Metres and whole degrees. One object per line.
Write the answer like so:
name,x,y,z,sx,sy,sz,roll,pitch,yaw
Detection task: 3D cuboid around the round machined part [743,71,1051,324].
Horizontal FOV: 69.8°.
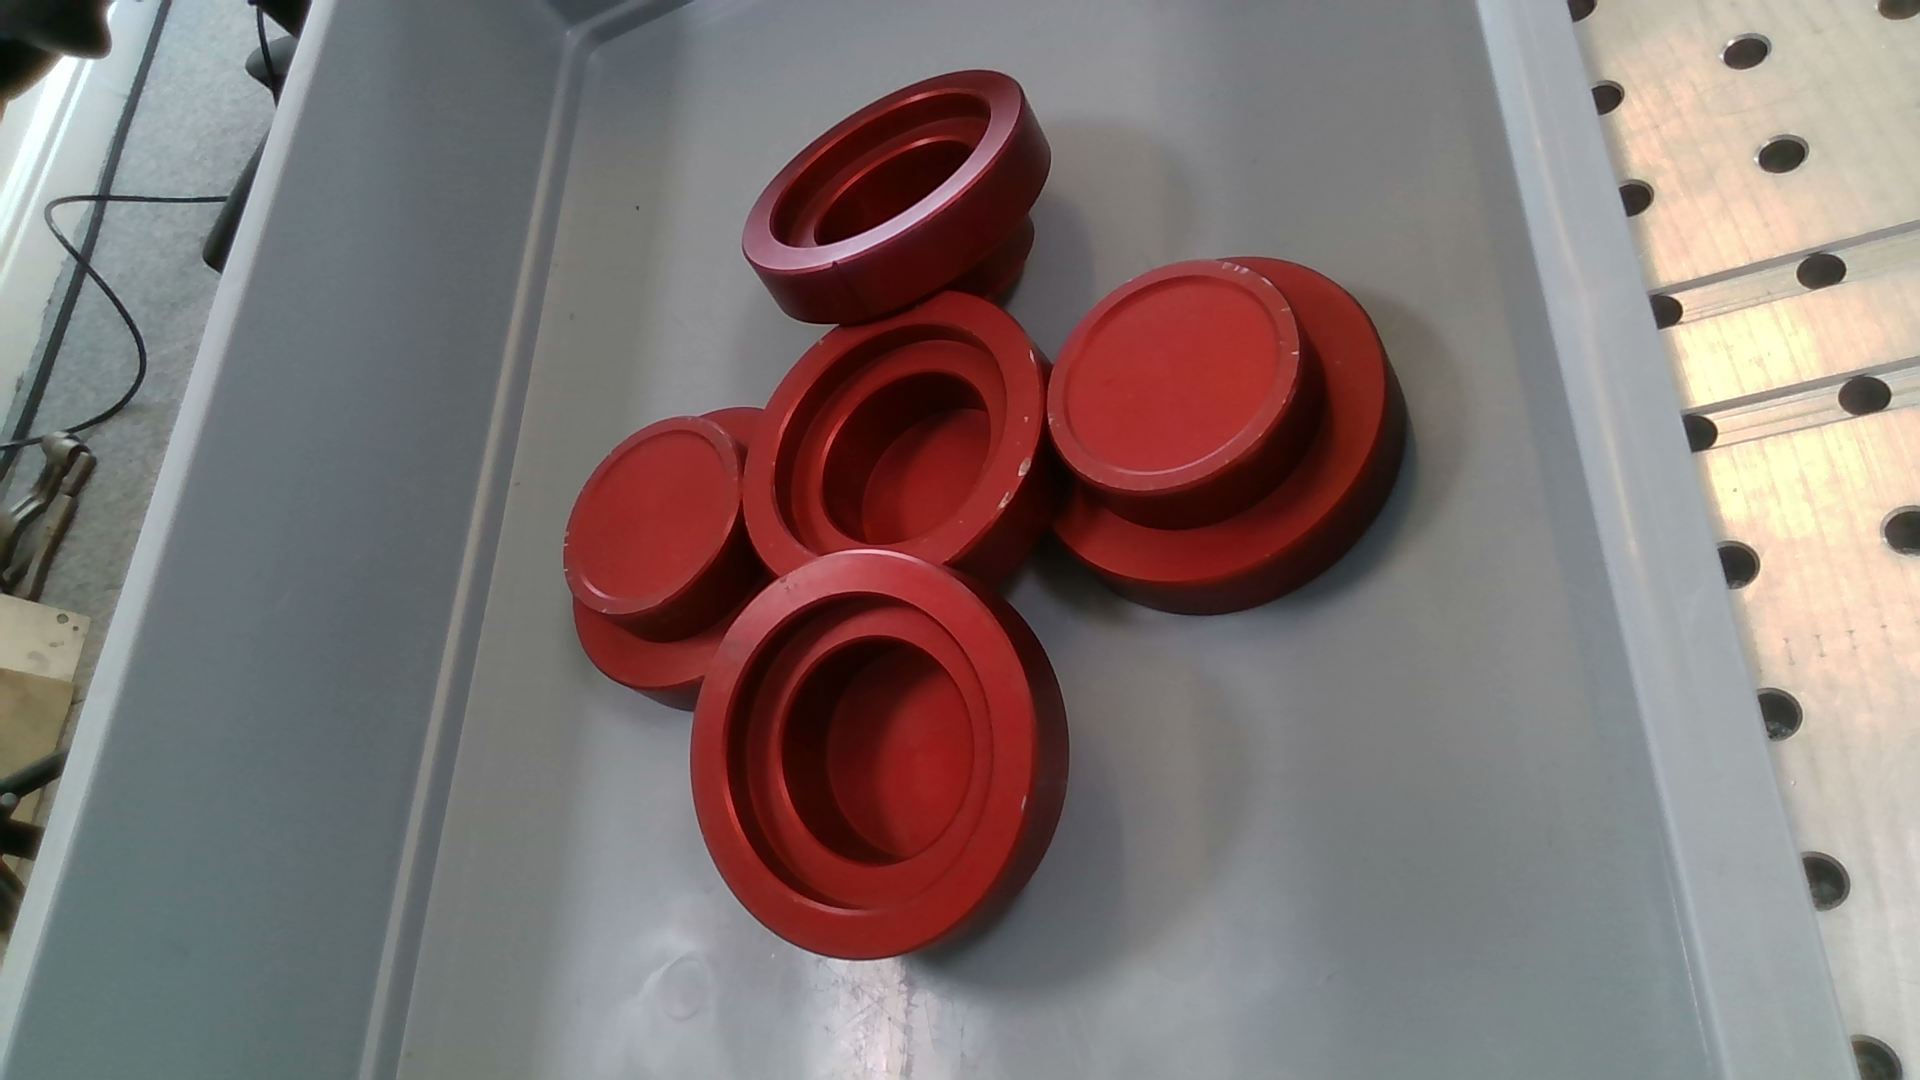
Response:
round machined part,-0.015,-0.100,0.433,0.098,0.042,0.098,-21,39,18

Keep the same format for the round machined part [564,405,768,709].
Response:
round machined part,-0.084,0.000,0.432,0.098,0.042,0.098,-14,59,25

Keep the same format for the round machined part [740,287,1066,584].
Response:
round machined part,-0.012,-0.020,0.398,0.098,0.042,0.098,-14,59,25

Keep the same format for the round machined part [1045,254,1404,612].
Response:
round machined part,0.062,-0.034,0.360,0.098,0.042,0.098,-14,59,25

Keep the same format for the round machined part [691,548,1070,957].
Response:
round machined part,-0.017,0.053,0.352,0.098,0.042,0.098,-5,80,27
